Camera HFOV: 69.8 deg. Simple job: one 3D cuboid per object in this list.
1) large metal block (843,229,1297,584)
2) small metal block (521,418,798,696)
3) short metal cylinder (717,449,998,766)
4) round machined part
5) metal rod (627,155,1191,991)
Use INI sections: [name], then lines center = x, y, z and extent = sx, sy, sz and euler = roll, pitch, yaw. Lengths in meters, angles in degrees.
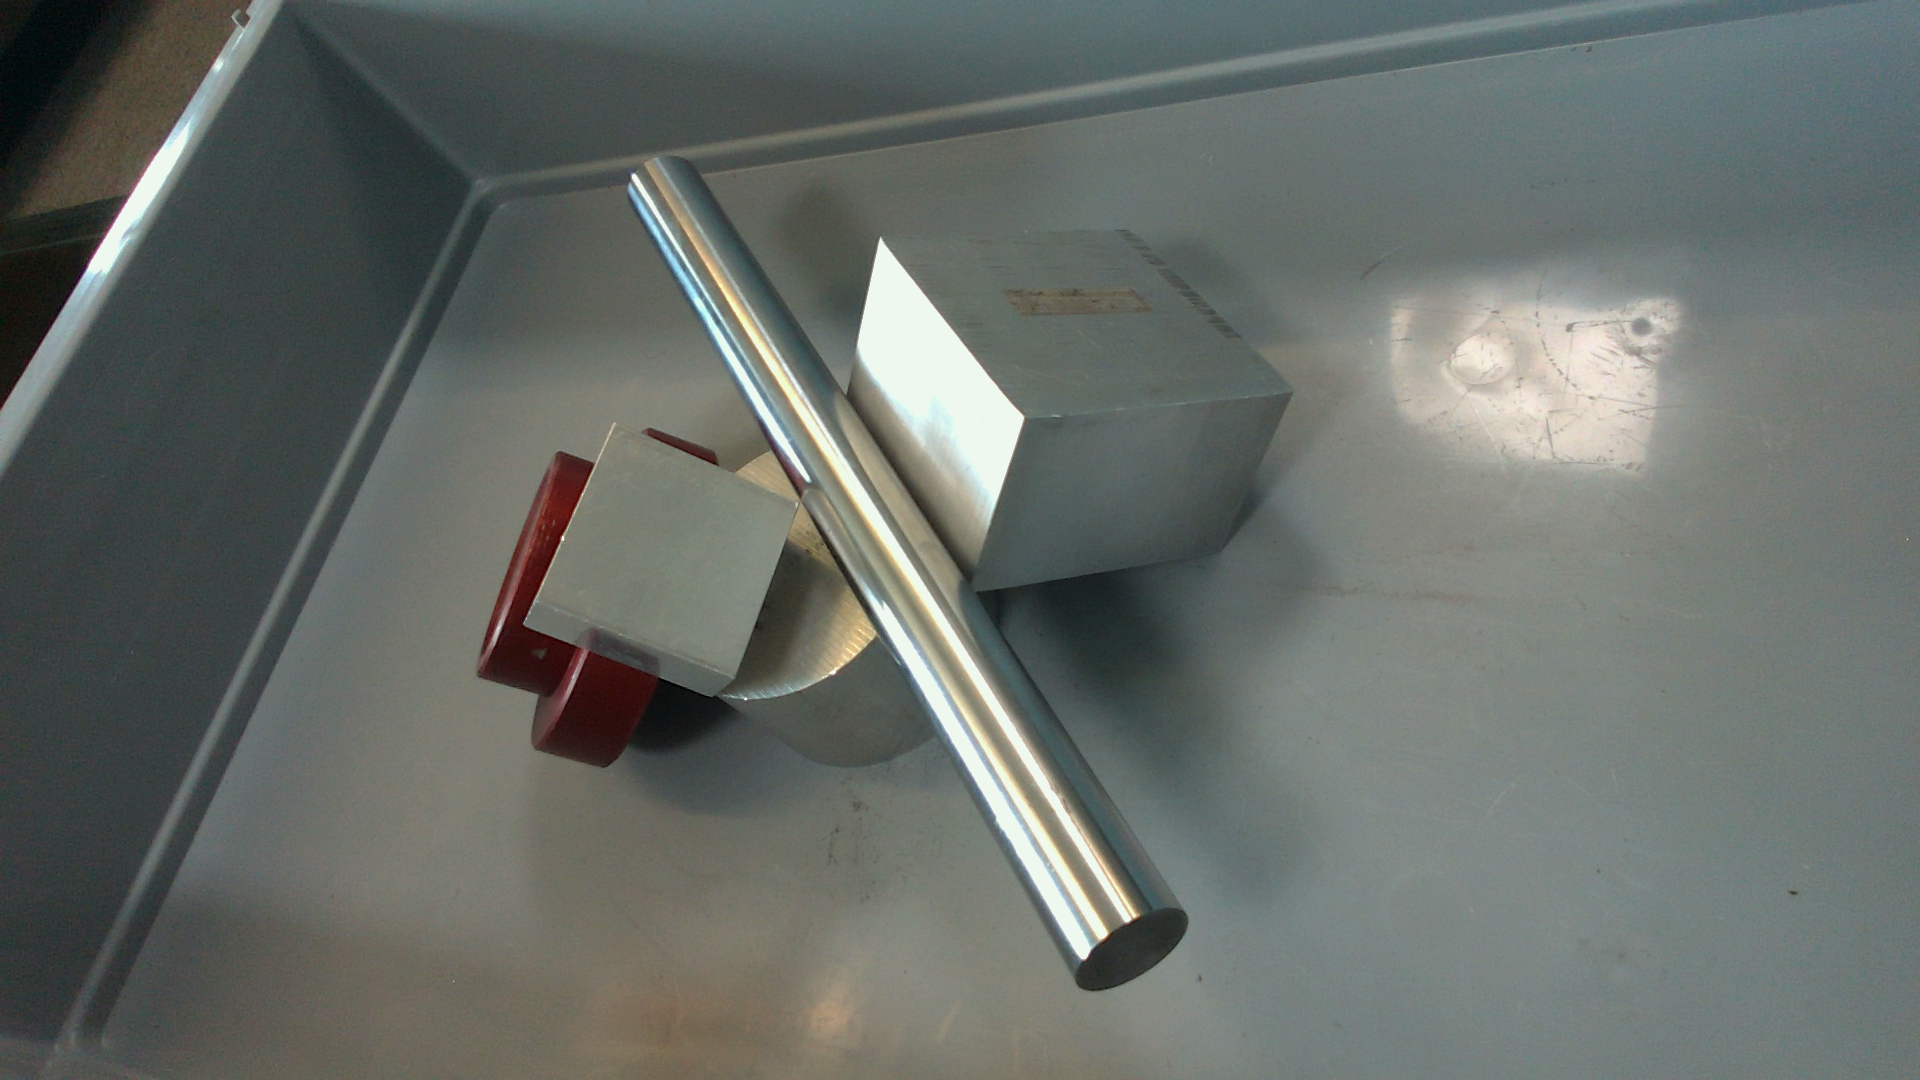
[large metal block]
center = 0.025, -0.039, 0.359
extent = 0.080, 0.050, 0.080
euler = -8, 44, -29
[small metal block]
center = -0.075, 0.005, 0.346
extent = 0.025, 0.050, 0.050
euler = -35, 35, 62
[short metal cylinder]
center = -0.036, 0.017, 0.385
extent = 0.080, 0.050, 0.080
euler = -13, 56, 21
[round machined part]
center = -0.108, 0.013, 0.398
extent = 0.098, 0.042, 0.098
euler = -53, 26, 40
[metal rod]
center = -0.032, -0.018, 0.356
extent = 0.025, 0.025, 0.299
euler = -37, 51, 4
